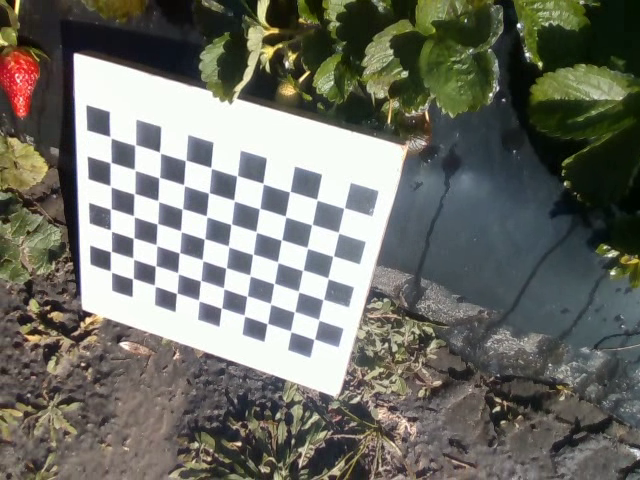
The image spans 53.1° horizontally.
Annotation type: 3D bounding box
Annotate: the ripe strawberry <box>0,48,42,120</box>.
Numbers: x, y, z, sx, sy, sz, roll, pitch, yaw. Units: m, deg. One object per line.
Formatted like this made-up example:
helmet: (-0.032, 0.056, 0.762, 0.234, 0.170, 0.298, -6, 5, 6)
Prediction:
ripe strawberry: (-0.267, -0.136, 0.558, 0.048, 0.068, 0.040, 2, 22, 20)
